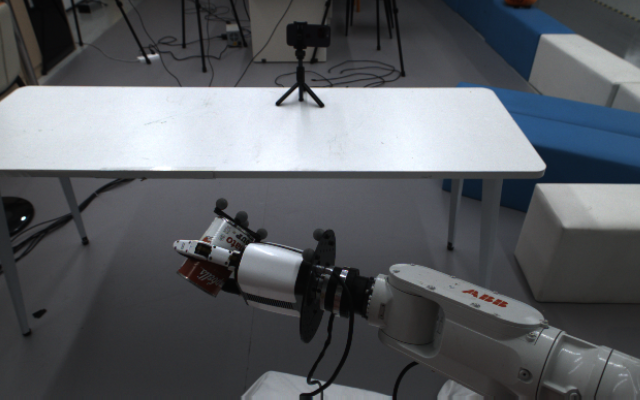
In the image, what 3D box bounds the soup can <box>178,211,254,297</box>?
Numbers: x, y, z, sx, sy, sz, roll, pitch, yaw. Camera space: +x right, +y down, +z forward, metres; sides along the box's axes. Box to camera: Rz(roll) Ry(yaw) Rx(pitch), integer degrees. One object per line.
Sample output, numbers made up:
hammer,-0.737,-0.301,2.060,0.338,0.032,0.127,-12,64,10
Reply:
soup can,-0.152,0.082,0.704,0.067,0.067,0.101,25,73,29
